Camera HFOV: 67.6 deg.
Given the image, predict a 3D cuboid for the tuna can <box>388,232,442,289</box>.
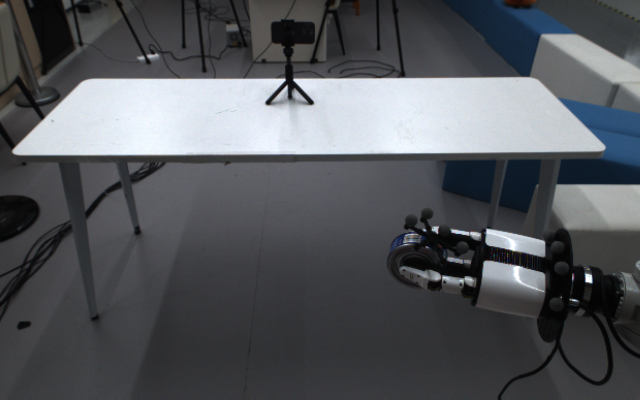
[{"bbox_3d":[0.144,0.087,0.711,0.085,0.085,0.034,12,35,14],"label":"tuna can"}]
